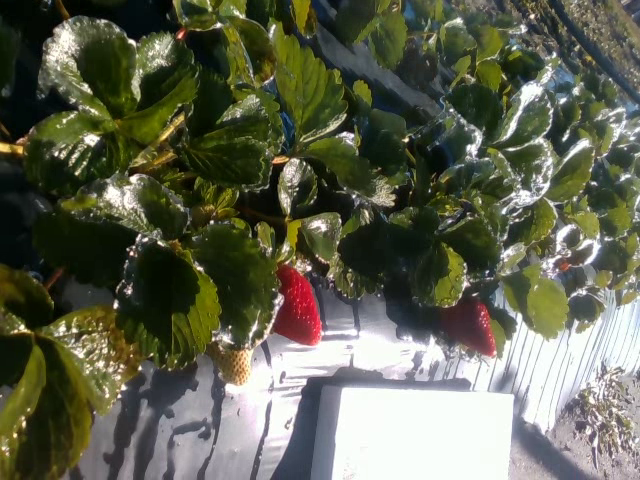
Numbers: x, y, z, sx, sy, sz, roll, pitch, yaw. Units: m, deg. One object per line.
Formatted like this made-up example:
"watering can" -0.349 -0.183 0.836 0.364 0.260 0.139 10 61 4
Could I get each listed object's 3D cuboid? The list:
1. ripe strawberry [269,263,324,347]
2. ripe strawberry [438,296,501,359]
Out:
"ripe strawberry" -0.018 0.048 0.365 0.042 0.061 0.046 -4 -39 -47
"ripe strawberry" 0.141 0.081 0.525 0.048 0.061 0.044 7 -37 -47
